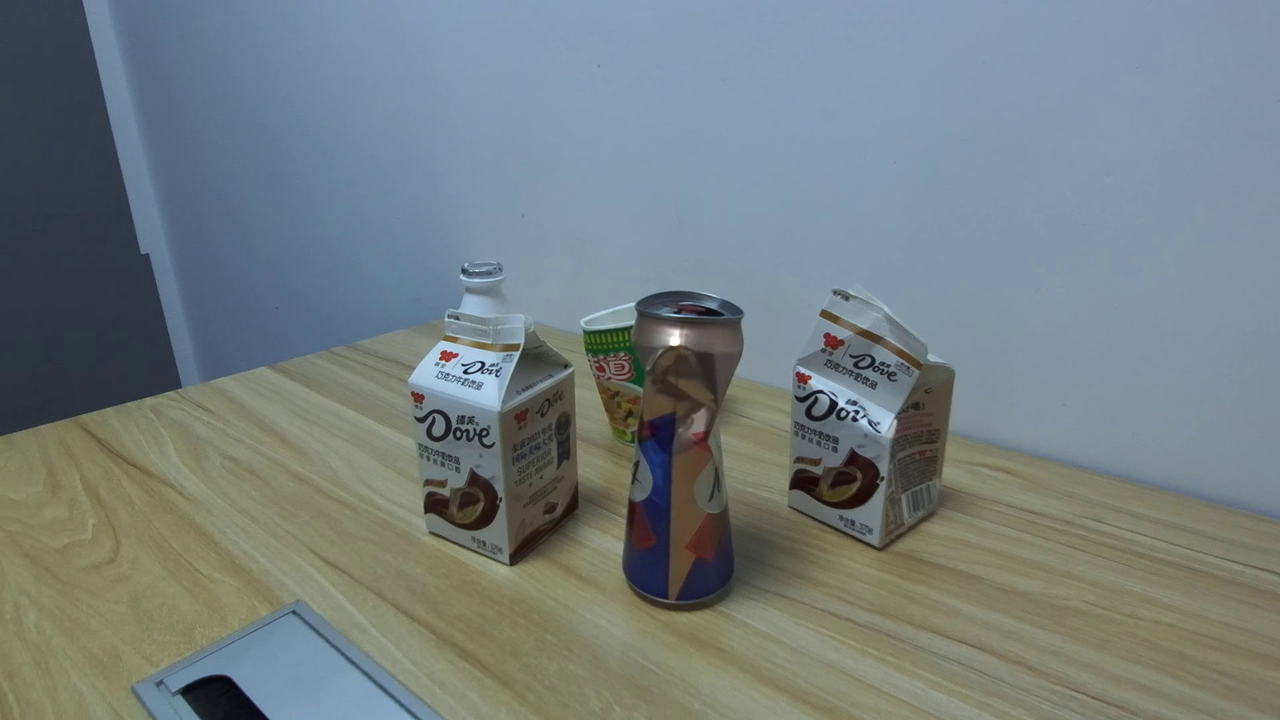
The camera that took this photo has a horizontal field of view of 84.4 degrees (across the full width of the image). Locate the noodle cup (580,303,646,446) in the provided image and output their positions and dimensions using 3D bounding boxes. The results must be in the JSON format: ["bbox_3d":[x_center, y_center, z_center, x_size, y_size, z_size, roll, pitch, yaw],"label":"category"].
[{"bbox_3d":[0.009,0.014,0.589,0.115,0.111,0.070,-4,15,-14],"label":"noodle cup"}]

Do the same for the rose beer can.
[{"bbox_3d":[0.025,0.050,0.383,0.065,0.167,0.076,8,19,15],"label":"rose beer can"}]

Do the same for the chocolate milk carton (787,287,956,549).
[{"bbox_3d":[0.147,0.030,0.450,0.074,0.155,0.076,-20,28,-37],"label":"chocolate milk carton"}]

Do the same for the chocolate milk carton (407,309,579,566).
[{"bbox_3d":[-0.089,0.039,0.440,0.075,0.148,0.074,13,25,29],"label":"chocolate milk carton"}]

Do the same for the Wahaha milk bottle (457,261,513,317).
[{"bbox_3d":[-0.120,-0.009,0.571,0.056,0.148,0.056,0,32,0],"label":"Wahaha milk bottle"}]
